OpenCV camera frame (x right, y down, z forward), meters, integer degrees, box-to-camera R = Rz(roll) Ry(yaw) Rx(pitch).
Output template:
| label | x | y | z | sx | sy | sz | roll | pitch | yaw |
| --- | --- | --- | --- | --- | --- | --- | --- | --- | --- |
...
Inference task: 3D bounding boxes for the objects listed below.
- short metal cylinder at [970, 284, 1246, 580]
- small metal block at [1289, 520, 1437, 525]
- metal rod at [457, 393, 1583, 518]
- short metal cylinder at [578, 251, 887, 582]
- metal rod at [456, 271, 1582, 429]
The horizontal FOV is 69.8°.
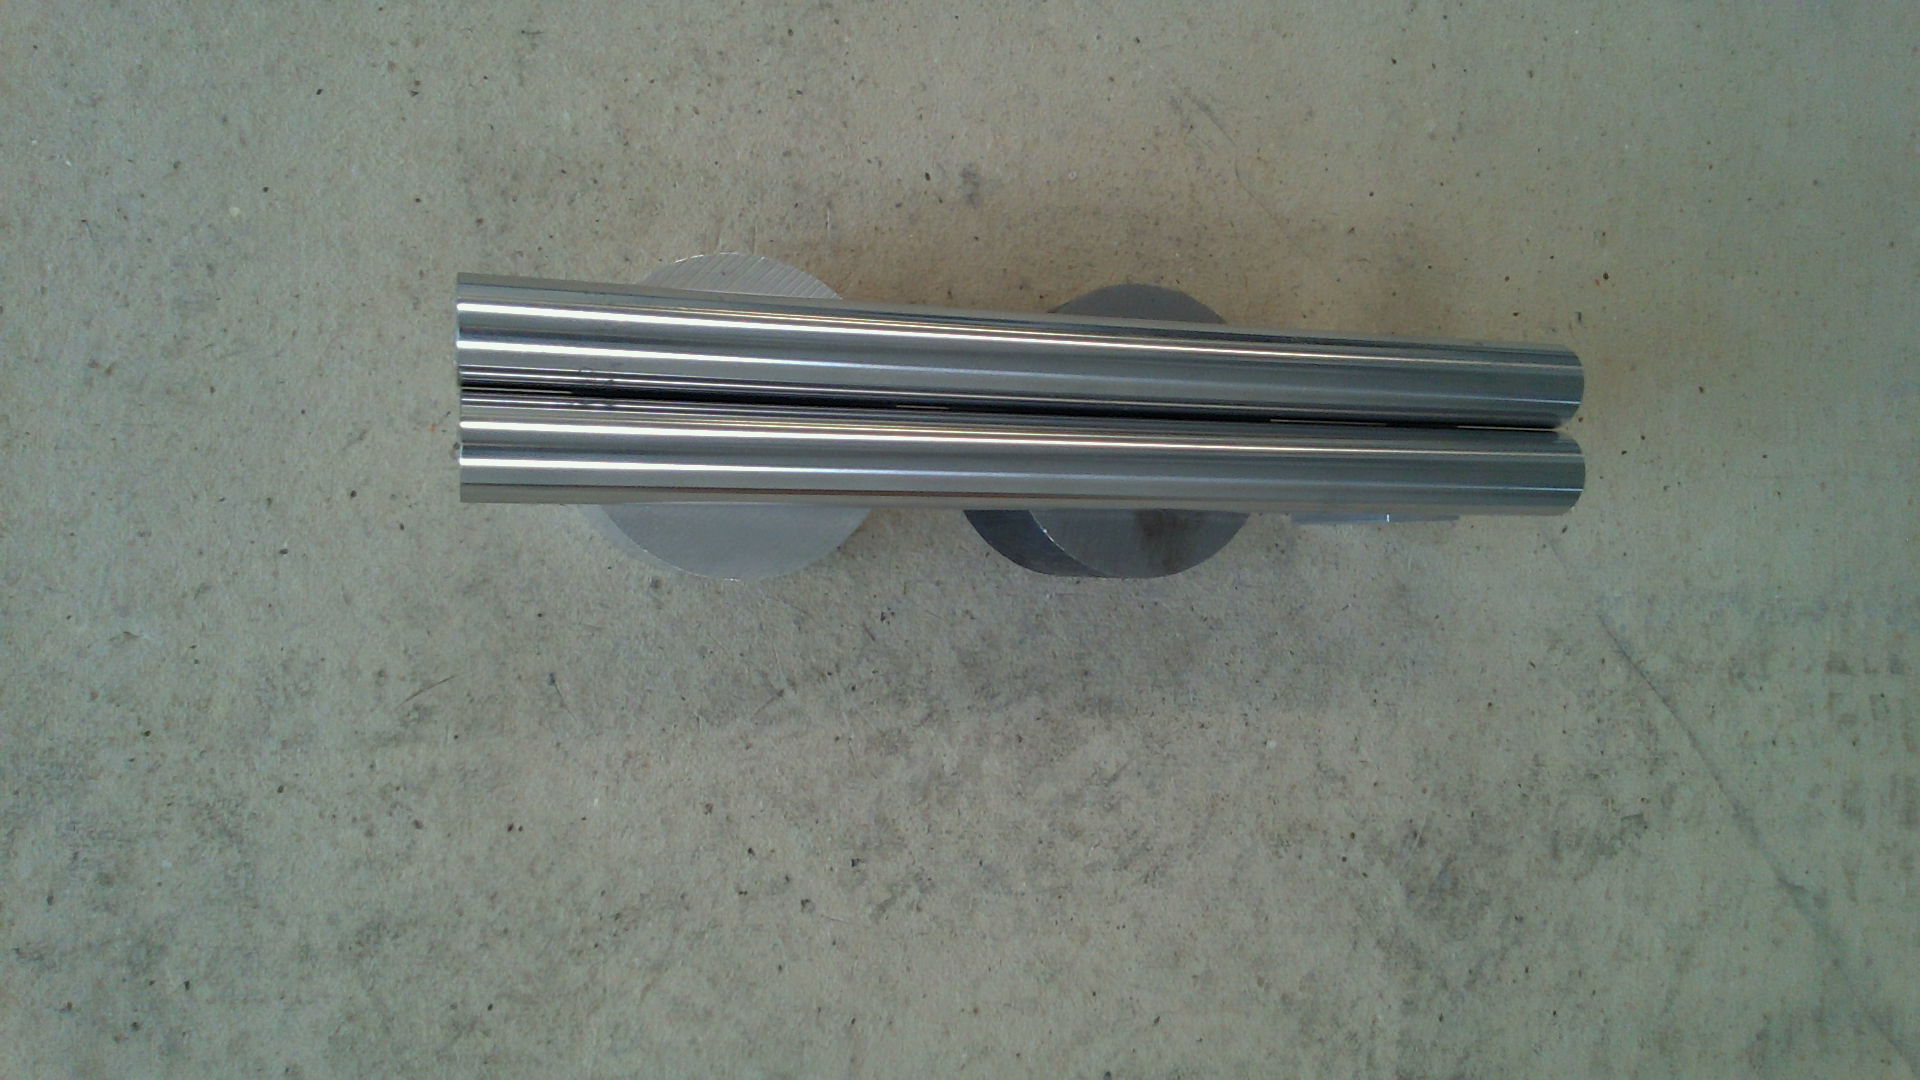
| label | x | y | z | sx | sy | sz | roll | pitch | yaw |
| --- | --- | --- | --- | --- | --- | --- | --- | --- | --- |
| short metal cylinder | 0.041 | -0.029 | 0.396 | 0.080 | 0.050 | 0.080 | 0 | 90 | -20 |
| small metal block | 0.126 | -0.031 | 0.428 | 0.025 | 0.050 | 0.050 | -2 | 90 | -20 |
| metal rod | 0.032 | -0.019 | 0.351 | 0.301 | 0.025 | 0.025 | 0 | 90 | -20 |
| short metal cylinder | -0.062 | -0.030 | 0.357 | 0.080 | 0.050 | 0.080 | 0 | 90 | -20 |
| metal rod | 0.031 | -0.045 | 0.351 | 0.301 | 0.025 | 0.025 | 0 | 90 | -20 |
